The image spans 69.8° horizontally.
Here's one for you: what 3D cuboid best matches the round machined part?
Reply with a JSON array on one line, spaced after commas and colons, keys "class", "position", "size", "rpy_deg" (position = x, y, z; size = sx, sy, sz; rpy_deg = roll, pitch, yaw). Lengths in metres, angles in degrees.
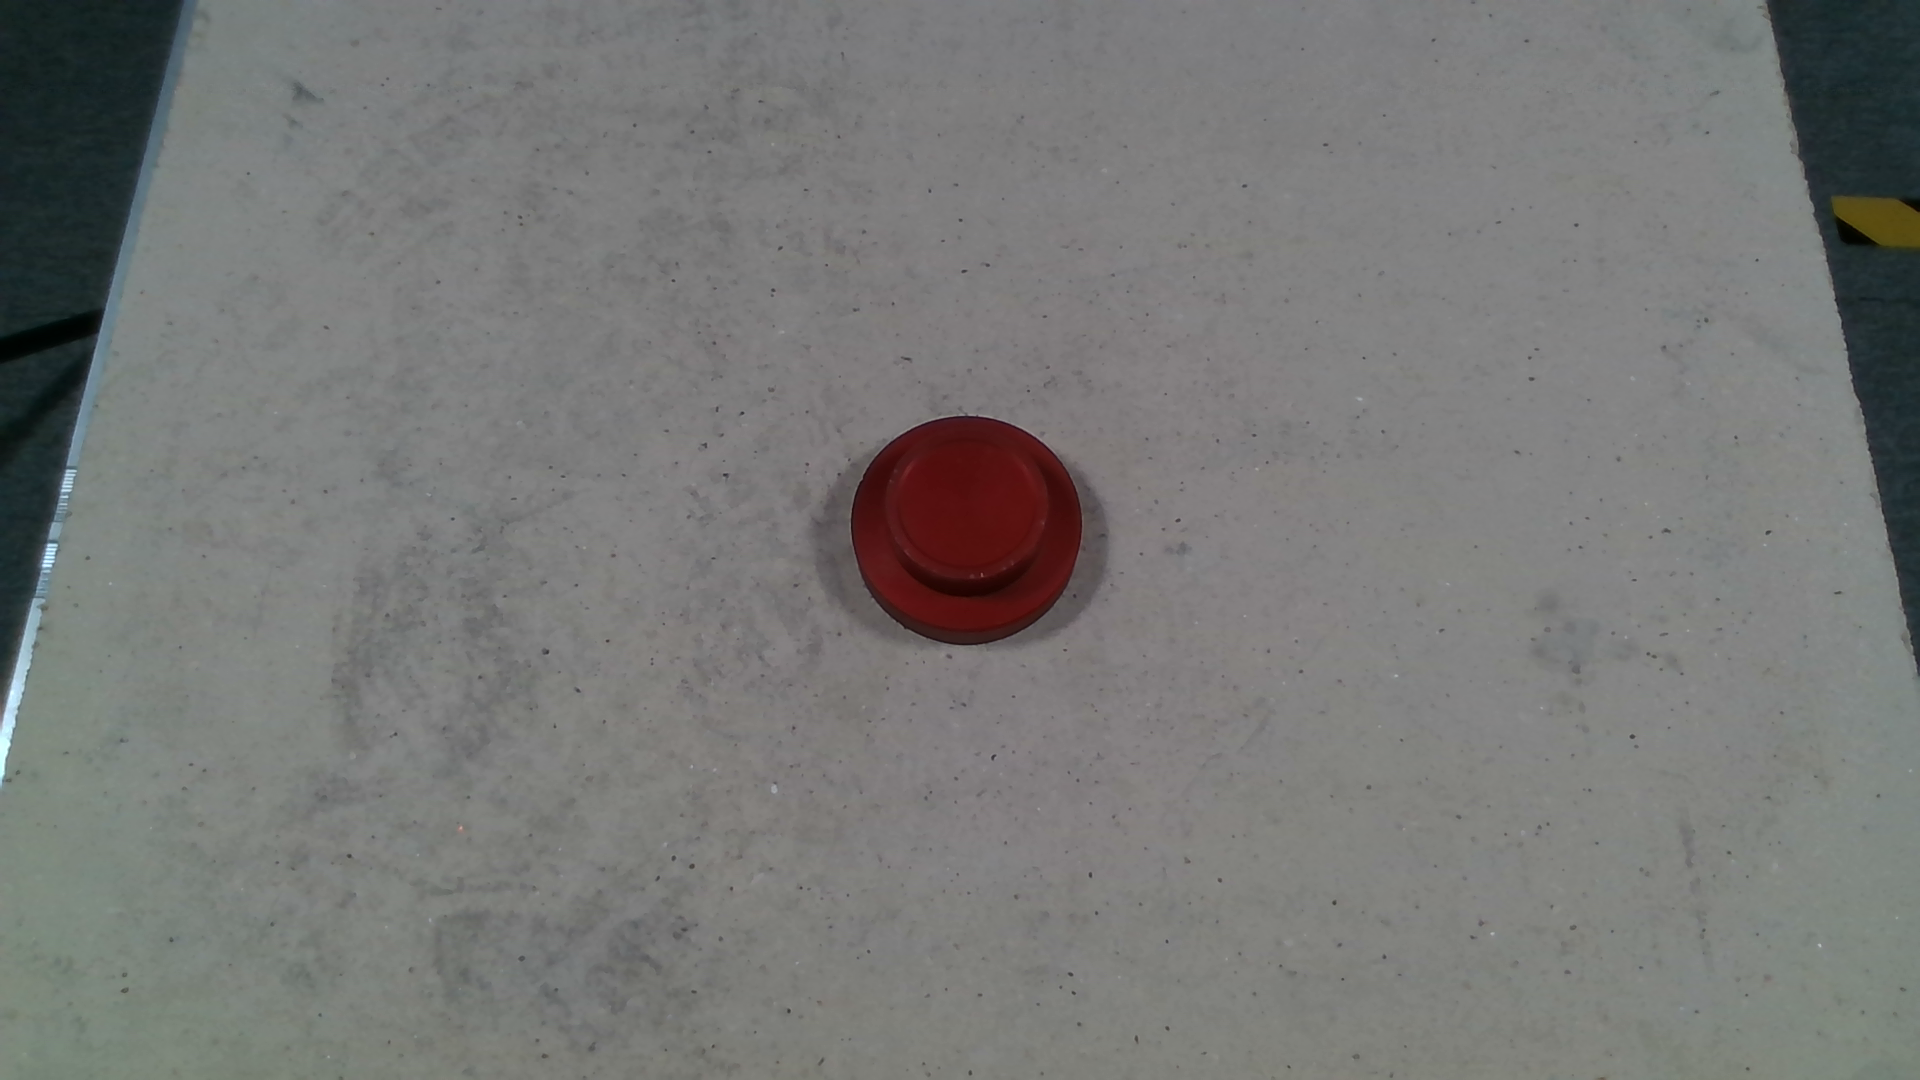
[{"class": "round machined part", "position": [0.002, -0.009, 0.582], "size": [0.098, 0.042, 0.098], "rpy_deg": [0, 70, 0]}]
